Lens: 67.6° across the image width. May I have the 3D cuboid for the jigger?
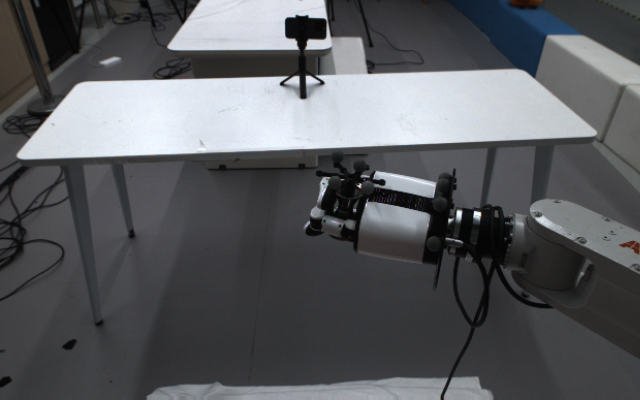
[{"bbox_3d":[0.035,0.015,0.647,0.043,0.071,0.043,7,32,-4],"label":"jigger"}]
